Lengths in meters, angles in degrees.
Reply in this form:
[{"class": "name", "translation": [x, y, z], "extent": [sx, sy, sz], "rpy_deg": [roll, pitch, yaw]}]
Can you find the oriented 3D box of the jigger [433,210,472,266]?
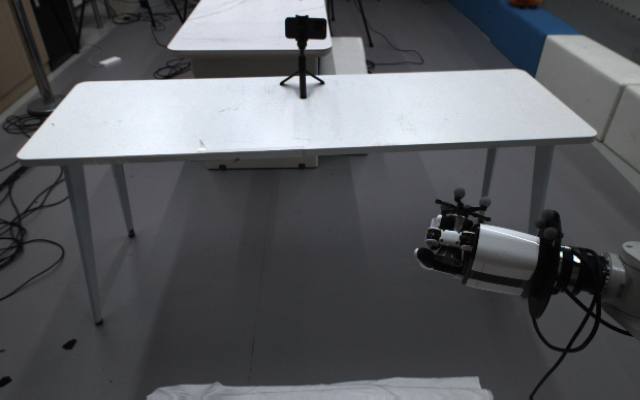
[{"class": "jigger", "translation": [0.204, 0.057, 0.734], "extent": [0.043, 0.043, 0.071], "rpy_deg": [16, 70, 19]}]
